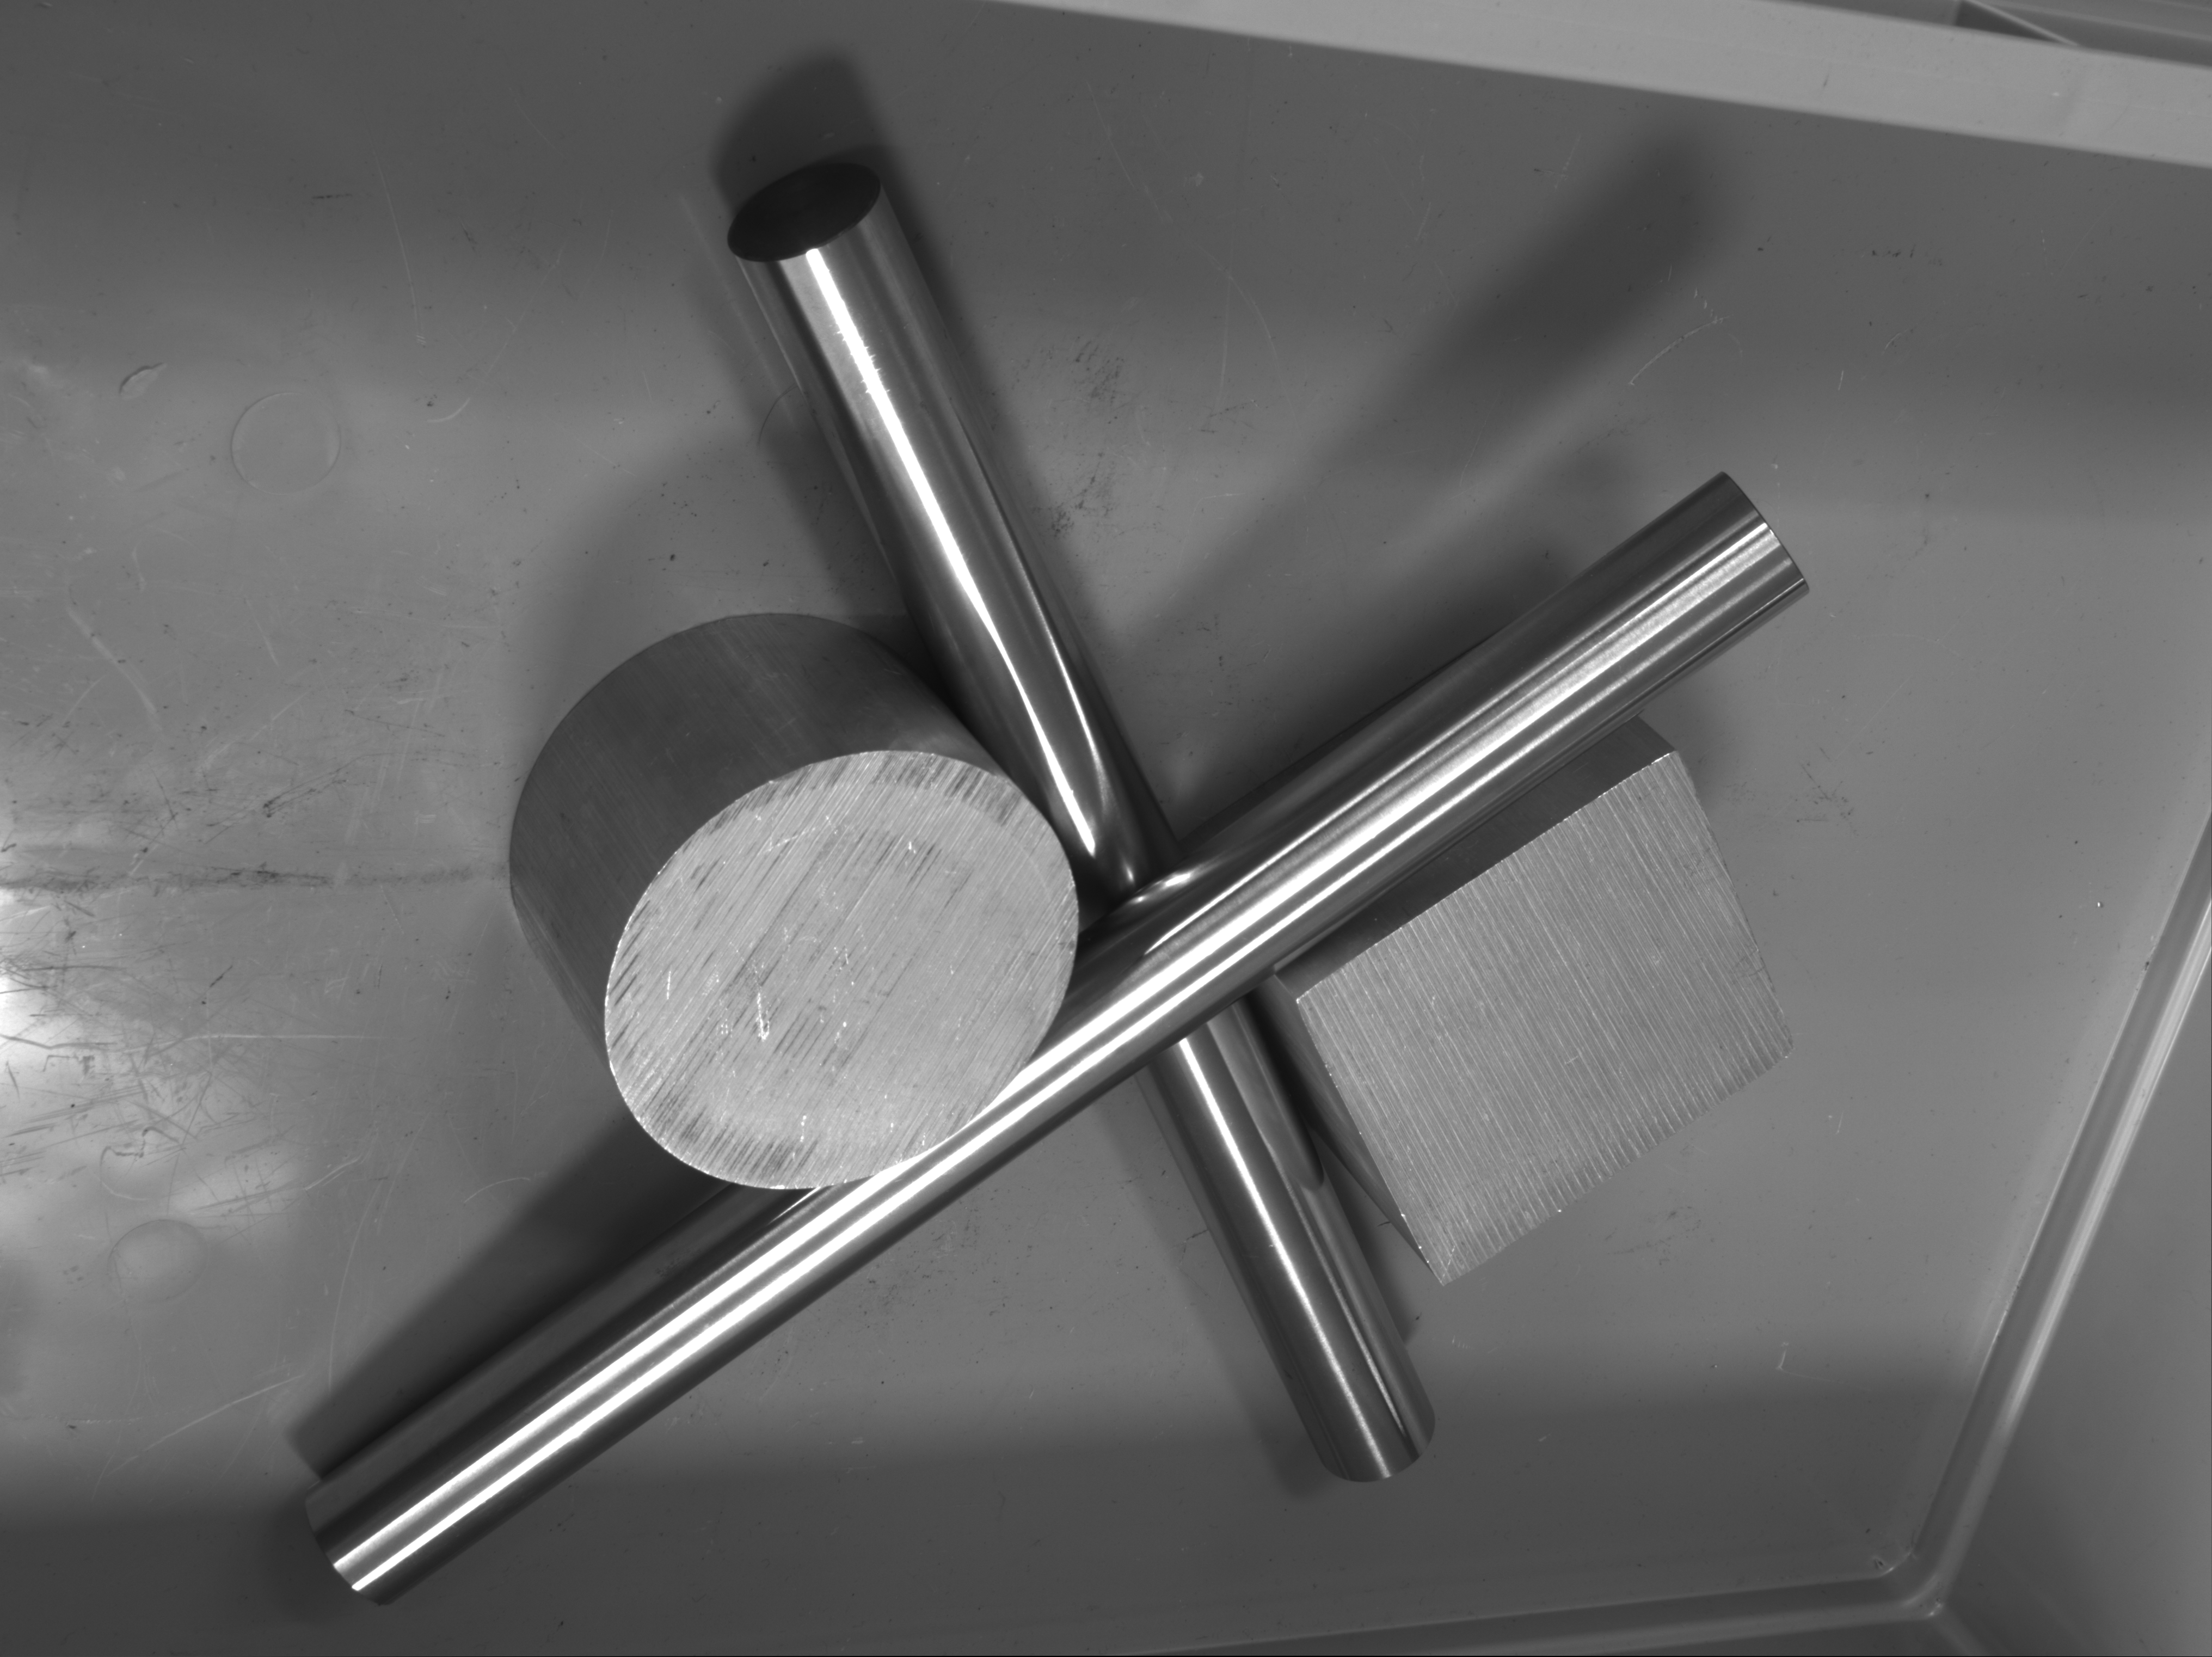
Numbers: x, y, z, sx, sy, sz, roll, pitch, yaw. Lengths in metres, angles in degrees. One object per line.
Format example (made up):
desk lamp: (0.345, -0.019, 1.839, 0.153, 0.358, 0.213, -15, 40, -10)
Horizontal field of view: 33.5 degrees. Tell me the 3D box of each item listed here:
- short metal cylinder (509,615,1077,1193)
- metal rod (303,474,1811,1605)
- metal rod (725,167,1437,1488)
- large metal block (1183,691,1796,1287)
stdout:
short metal cylinder: (-0.051, 0.012, 0.600, 0.080, 0.050, 0.080, -13, 124, -21)
metal rod: (-0.011, 0.038, 0.626, 0.300, 0.025, 0.025, -36, 129, 6)
metal rod: (0.004, 0.015, 0.646, 0.025, 0.025, 0.301, -31, 128, -8)
large metal block: (0.069, 0.022, 0.670, 0.080, 0.050, 0.080, -33, 129, -6)
